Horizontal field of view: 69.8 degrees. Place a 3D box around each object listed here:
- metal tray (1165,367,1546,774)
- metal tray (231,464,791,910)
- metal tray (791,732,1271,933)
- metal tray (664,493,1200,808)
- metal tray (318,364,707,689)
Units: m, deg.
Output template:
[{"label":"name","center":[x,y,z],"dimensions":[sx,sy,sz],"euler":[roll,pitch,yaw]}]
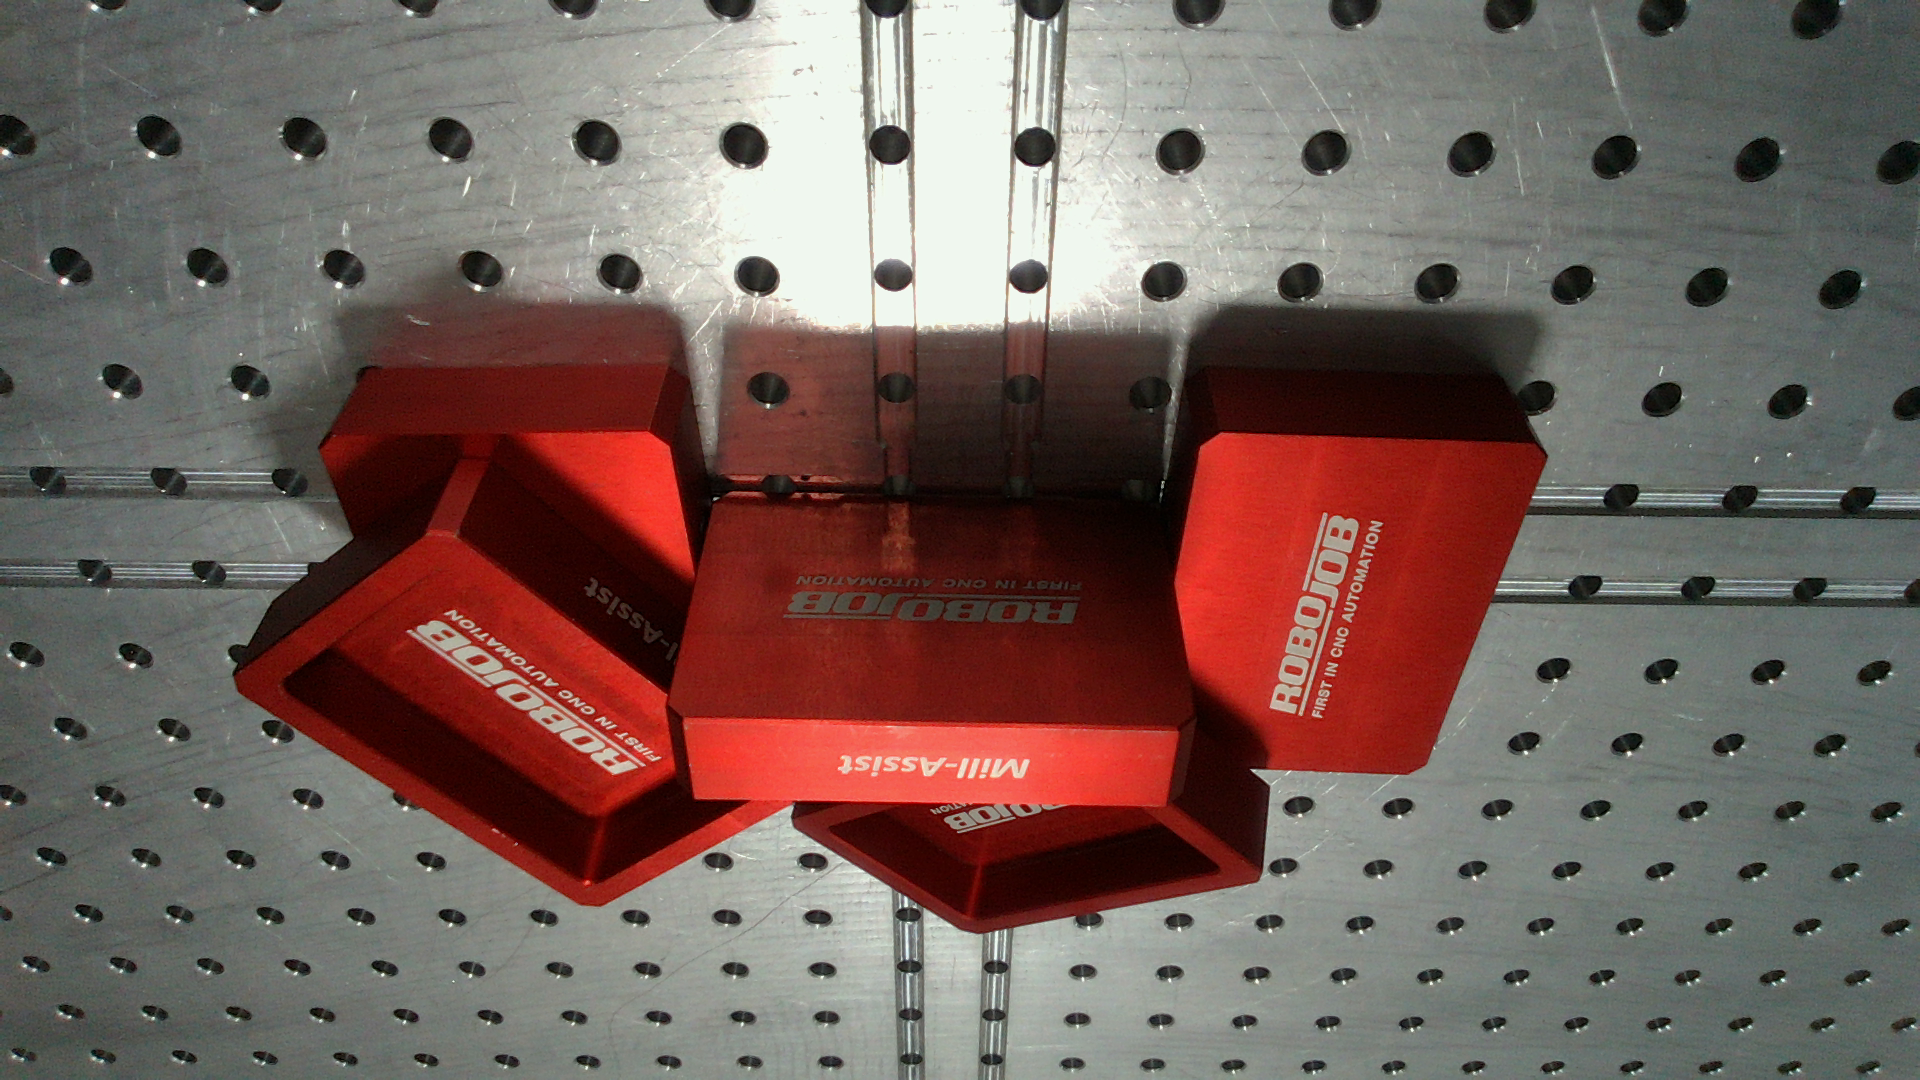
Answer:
[{"label":"metal tray","center":[0.103,0.014,0.401],"dimensions":[0.090,0.030,0.130],"euler":[2,130,-2]},{"label":"metal tray","center":[-0.119,0.048,0.388],"dimensions":[0.090,0.030,0.130],"euler":[-31,124,23]},{"label":"metal tray","center":[0.020,0.085,0.438],"dimensions":[0.090,0.030,0.129],"euler":[38,138,-28]},{"label":"metal tray","center":[-0.007,0.027,0.373],"dimensions":[0.130,0.090,0.030],"euler":[1,130,-1]},{"label":"metal tray","center":[-0.117,0.012,0.400],"dimensions":[0.090,0.030,0.130],"euler":[-1,131,1]}]
